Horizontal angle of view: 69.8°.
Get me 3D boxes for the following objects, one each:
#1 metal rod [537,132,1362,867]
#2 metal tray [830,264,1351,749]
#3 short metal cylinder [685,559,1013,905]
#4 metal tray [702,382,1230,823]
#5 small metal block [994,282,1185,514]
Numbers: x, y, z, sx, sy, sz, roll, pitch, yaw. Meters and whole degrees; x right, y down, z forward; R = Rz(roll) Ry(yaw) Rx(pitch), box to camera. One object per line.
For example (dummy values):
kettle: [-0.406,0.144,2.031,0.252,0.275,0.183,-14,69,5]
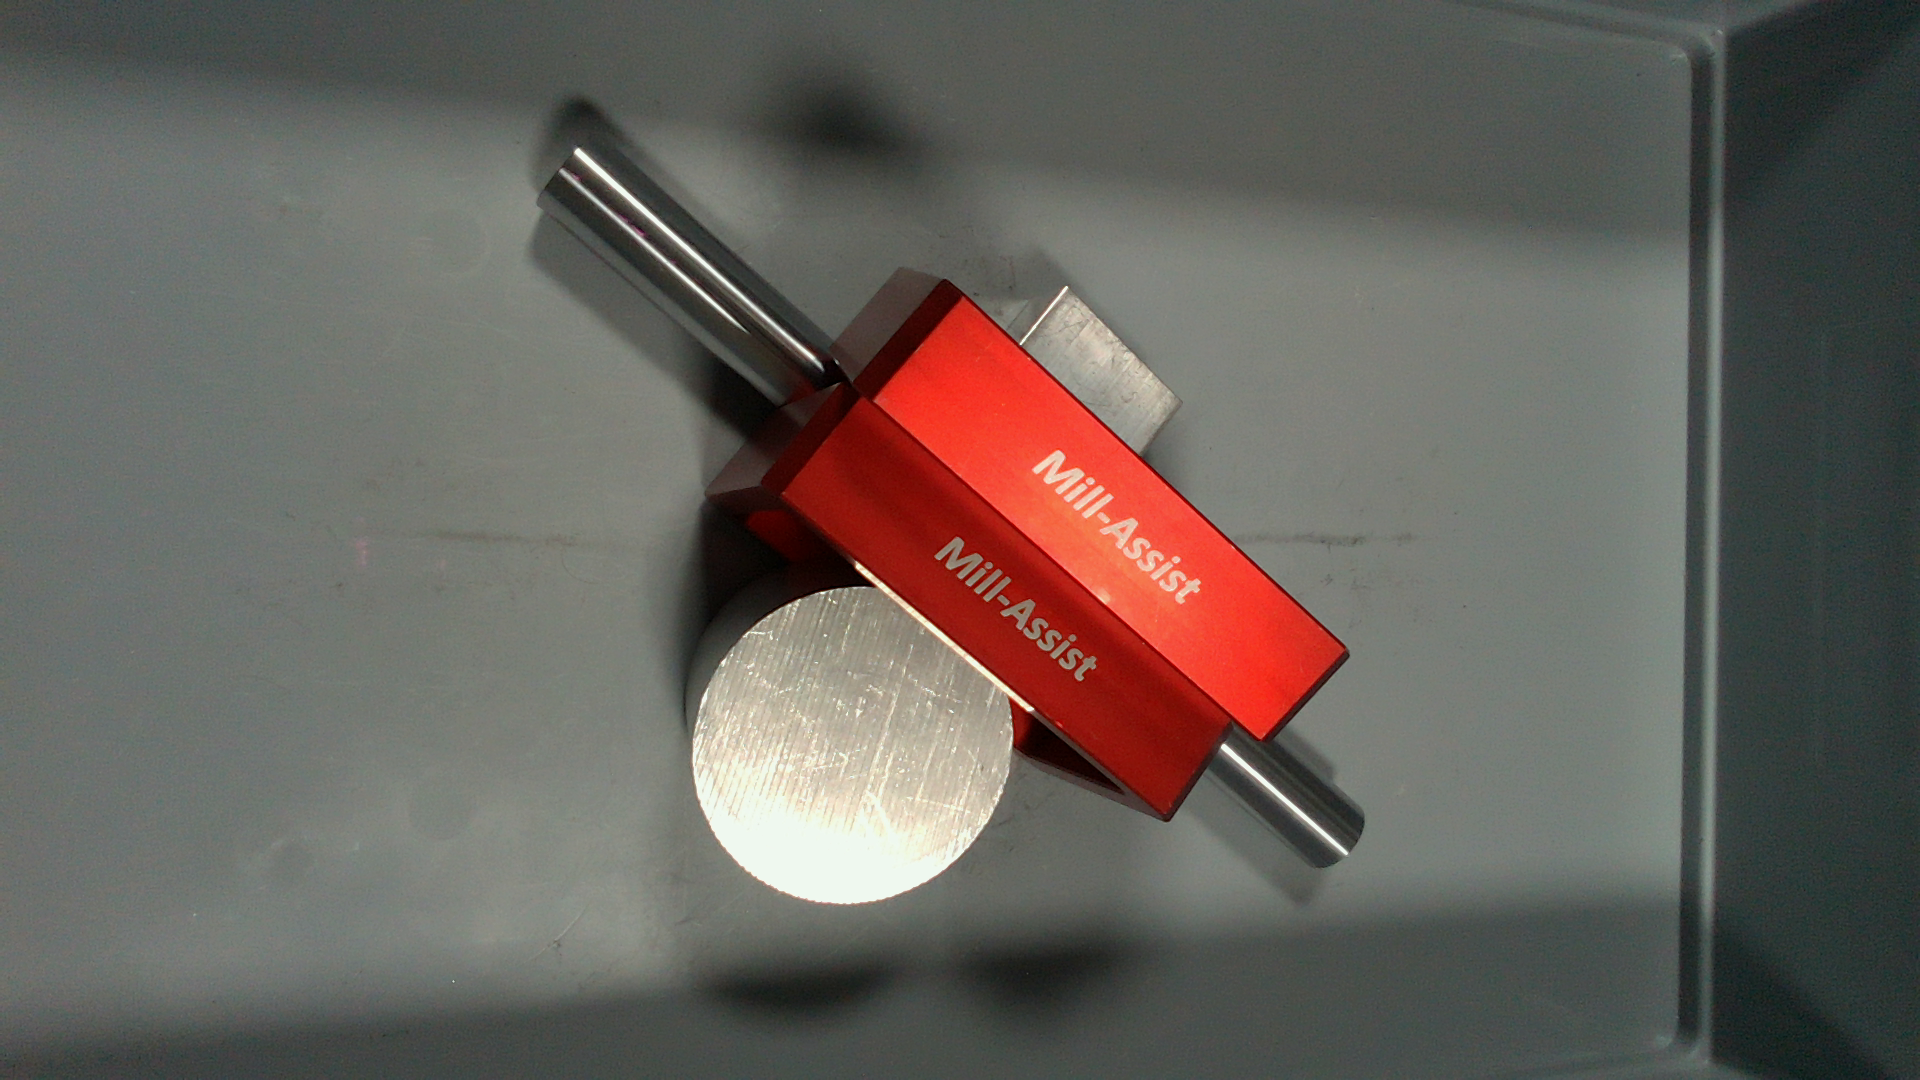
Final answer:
metal rod: [0.008,-0.002,0.397,0.300,0.025,0.025,41,77,-15]
metal tray: [0.028,-0.012,0.341,0.130,0.090,0.030,41,95,-15]
short metal cylinder: [-0.031,0.048,0.362,0.080,0.050,0.080,-2,97,-14]
metal tray: [-0.001,0.017,0.358,0.130,0.090,0.030,41,77,-15]
small metal block: [0.029,-0.038,0.403,0.050,0.025,0.050,42,77,-15]
